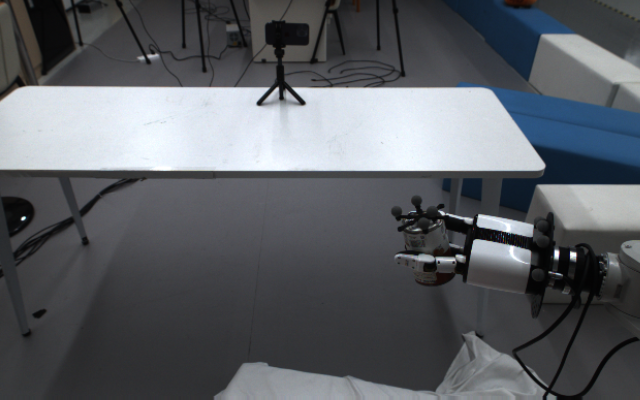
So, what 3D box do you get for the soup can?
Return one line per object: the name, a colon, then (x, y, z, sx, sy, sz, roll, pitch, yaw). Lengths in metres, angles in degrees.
soup can: (0.173, 0.075, 0.763, 0.067, 0.101, 0.067, -16, 23, 7)
